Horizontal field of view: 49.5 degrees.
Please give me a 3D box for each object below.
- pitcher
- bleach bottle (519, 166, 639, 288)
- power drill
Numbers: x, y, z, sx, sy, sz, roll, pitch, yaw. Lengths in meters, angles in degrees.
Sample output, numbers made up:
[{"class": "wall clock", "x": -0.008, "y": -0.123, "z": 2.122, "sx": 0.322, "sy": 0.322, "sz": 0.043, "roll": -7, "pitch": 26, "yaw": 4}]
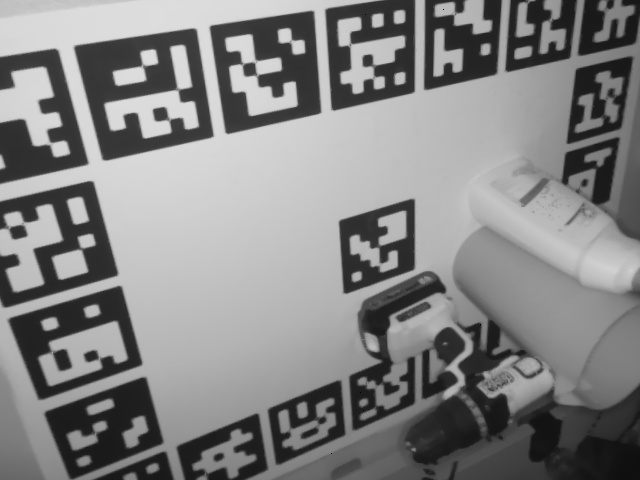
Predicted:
[{"class": "pitcher", "x": 0.321, "y": 0.081, "z": 0.800, "sx": 0.189, "sy": 0.241, "sz": 0.133, "roll": -40, "pitch": 123, "yaw": -5}, {"class": "bleach bottle", "x": 0.329, "y": -0.003, "z": 0.742, "sx": 0.104, "sy": 0.249, "sz": 0.067, "roll": -23, "pitch": 121, "yaw": -16}, {"class": "power drill", "x": 0.166, "y": 0.139, "z": 0.758, "sx": 0.186, "sy": 0.186, "sz": 0.057, "roll": -18, "pitch": 117, "yaw": -12}]
